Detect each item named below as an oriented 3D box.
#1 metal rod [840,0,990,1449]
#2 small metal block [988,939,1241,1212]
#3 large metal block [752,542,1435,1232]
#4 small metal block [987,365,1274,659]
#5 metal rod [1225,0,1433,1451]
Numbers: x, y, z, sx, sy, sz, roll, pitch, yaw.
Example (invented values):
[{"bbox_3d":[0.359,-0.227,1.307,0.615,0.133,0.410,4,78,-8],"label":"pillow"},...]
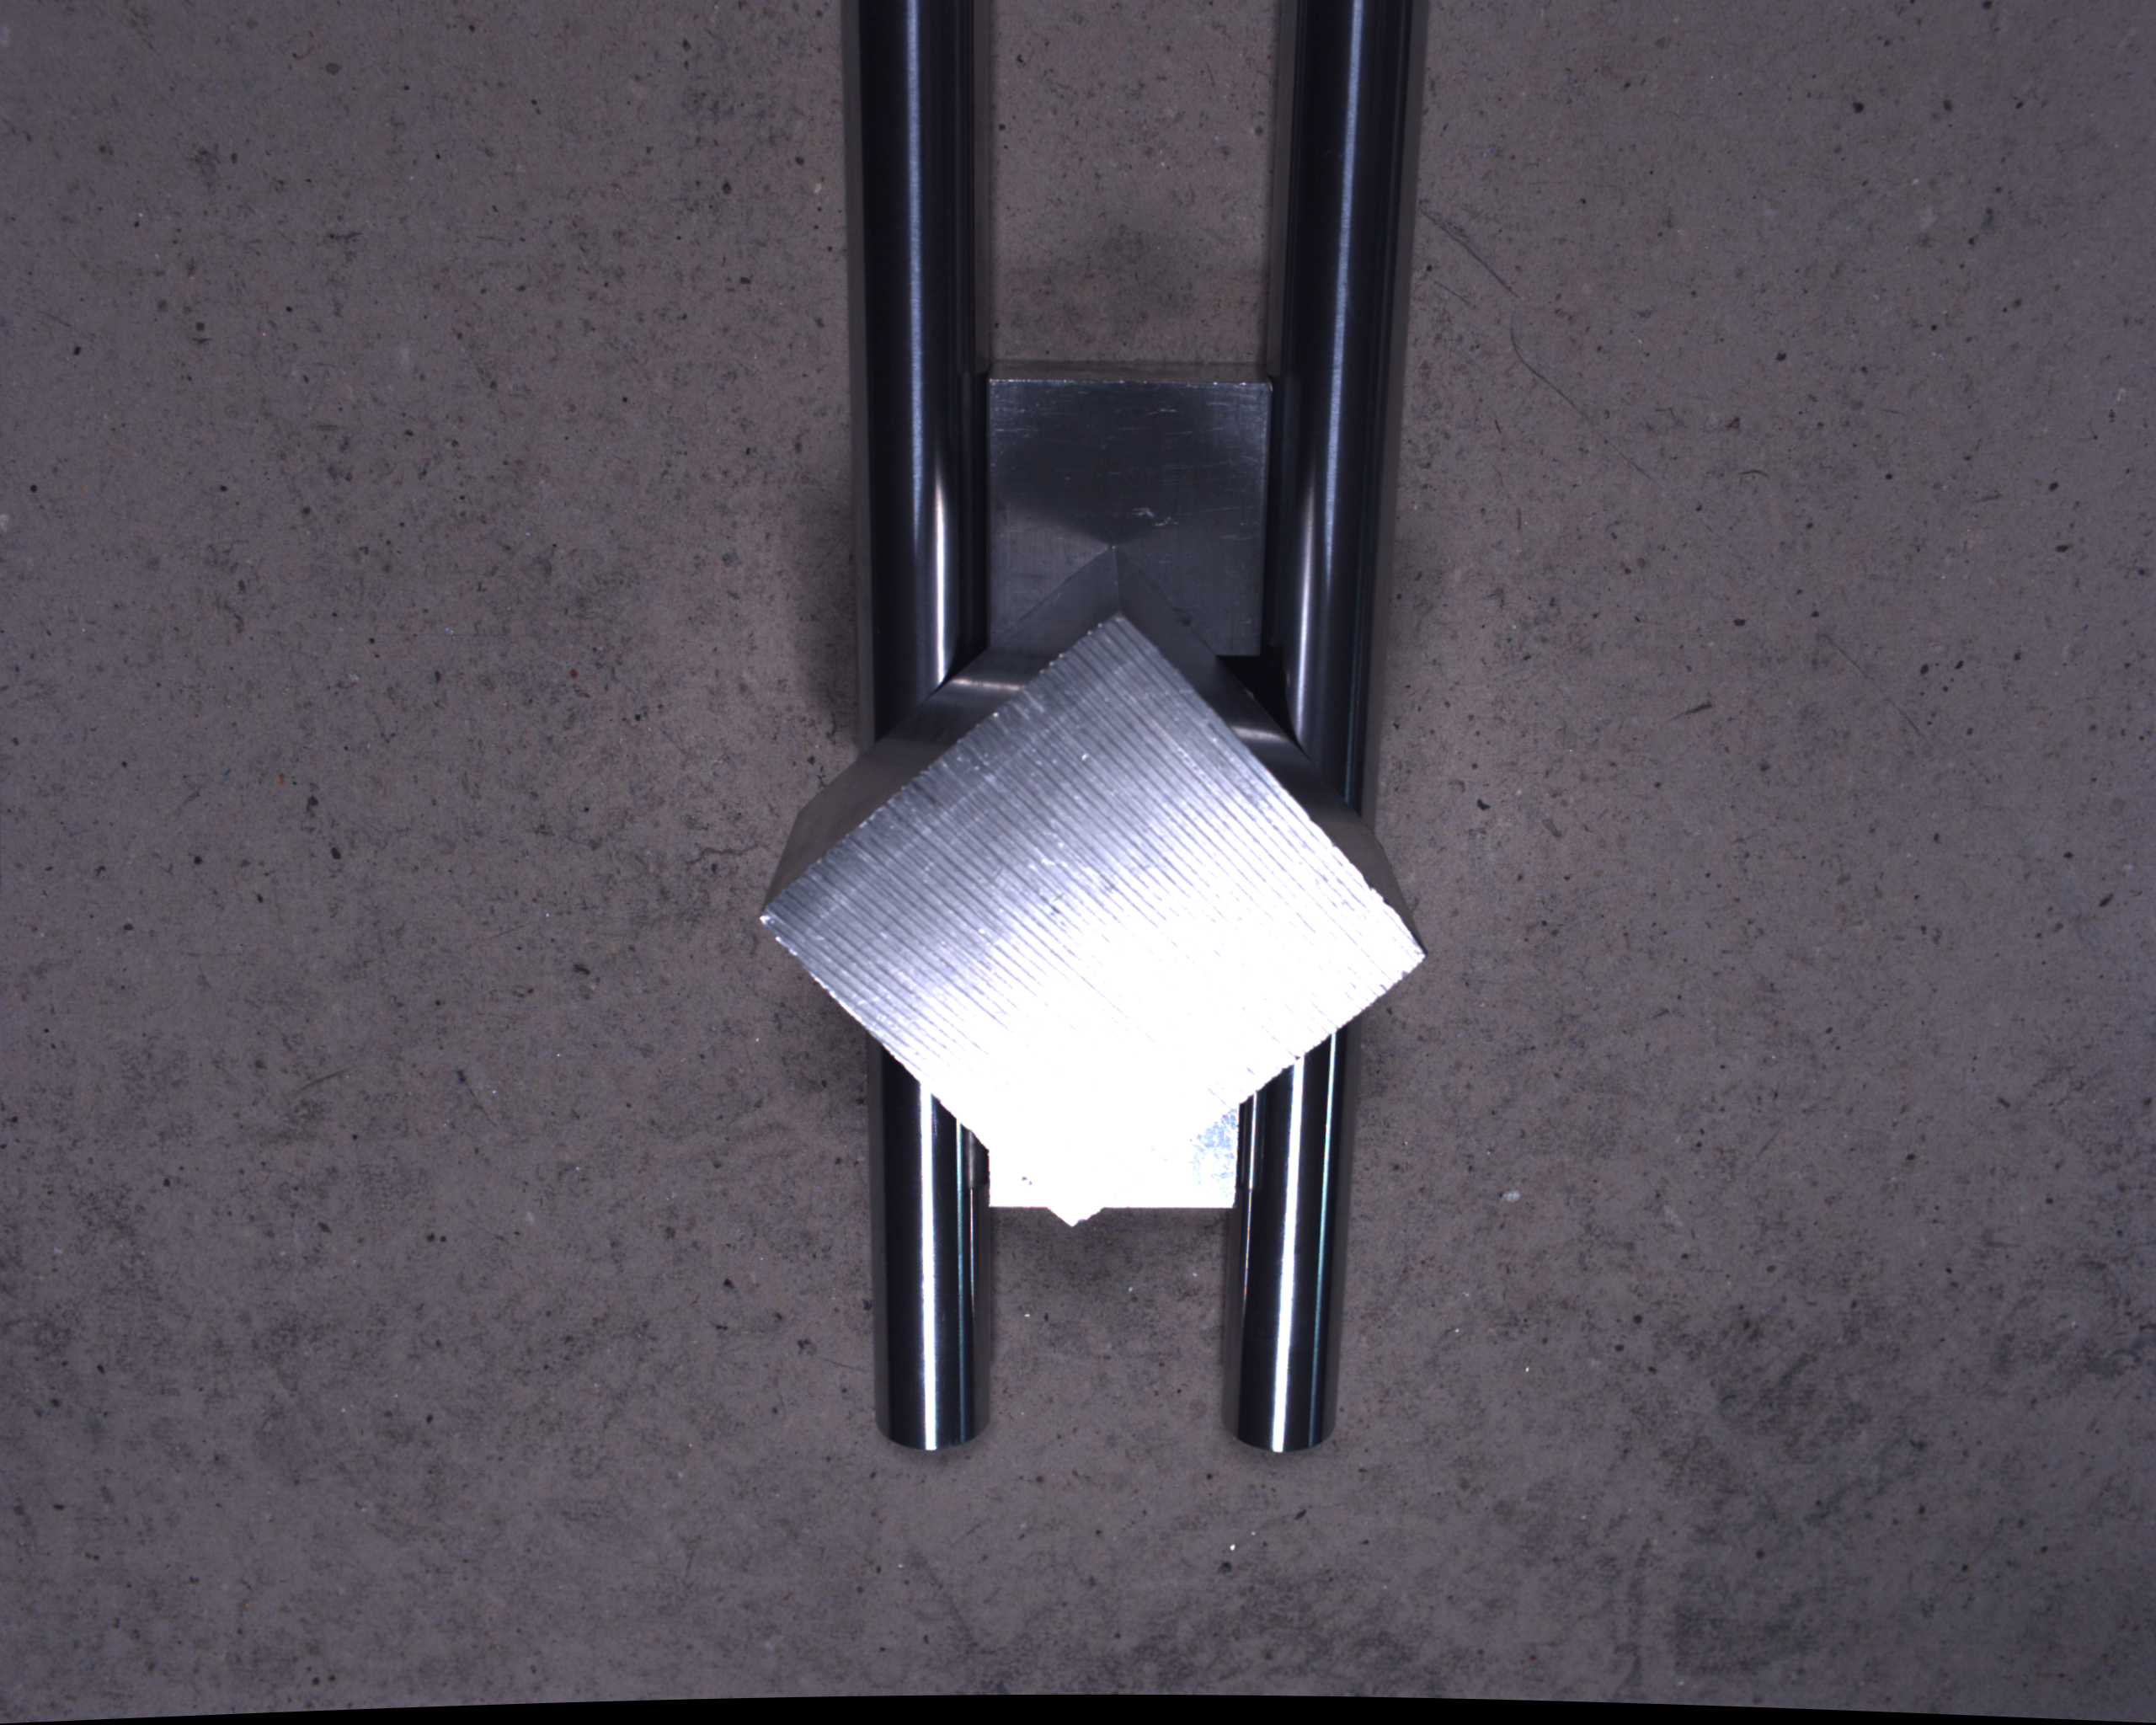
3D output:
[{"bbox_3d":[-0.030,-0.019,0.404,0.025,0.025,0.298,0,110,-1],"label":"metal rod"},{"bbox_3d":[0.007,0.043,0.426,0.050,0.025,0.050,1,110,-1],"label":"small metal block"},{"bbox_3d":[0.003,0.004,0.370,0.080,0.050,0.080,-39,106,13],"label":"large metal block"},{"bbox_3d":[0.009,-0.065,0.386,0.050,0.025,0.050,1,110,-1],"label":"small metal block"},{"bbox_3d":[0.047,-0.018,0.405,0.025,0.025,0.298,0,110,-1],"label":"metal rod"}]
